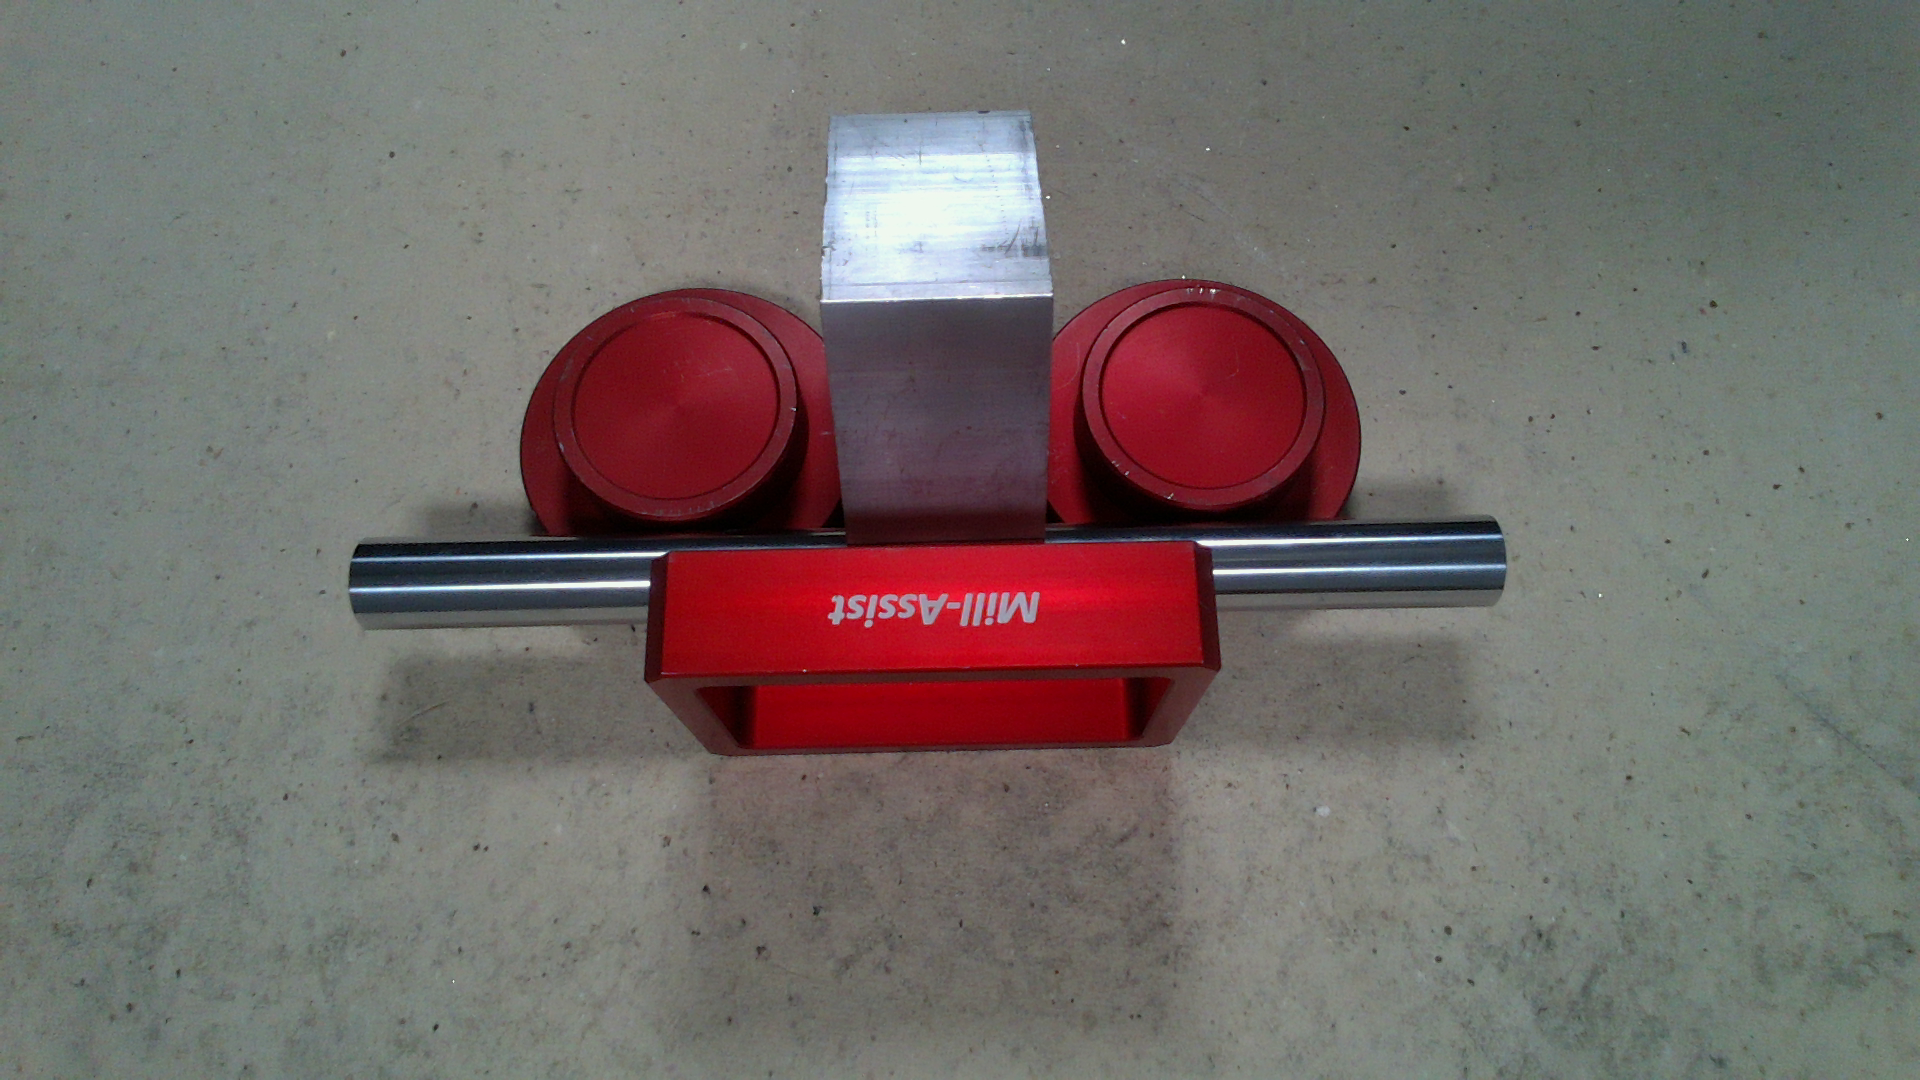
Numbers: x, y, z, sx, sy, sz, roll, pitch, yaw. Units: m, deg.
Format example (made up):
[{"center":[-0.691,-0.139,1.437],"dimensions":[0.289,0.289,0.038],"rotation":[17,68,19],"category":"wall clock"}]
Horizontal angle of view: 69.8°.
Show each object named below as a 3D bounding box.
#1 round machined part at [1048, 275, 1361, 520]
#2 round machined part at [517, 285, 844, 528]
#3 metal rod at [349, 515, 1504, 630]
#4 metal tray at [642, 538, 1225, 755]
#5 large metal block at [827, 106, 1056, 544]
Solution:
[{"center":[0.067,-0.034,0.397],"dimensions":[0.098,0.042,0.098],"rotation":[0,70,0],"category":"round machined part"},{"center":[-0.078,-0.031,0.395],"dimensions":[0.098,0.042,0.098],"rotation":[0,70,0],"category":"round machined part"},{"center":[-0.008,0.009,0.370],"dimensions":[0.300,0.025,0.025],"rotation":[-1,70,-1],"category":"metal rod"},{"center":[-0.006,0.030,0.349],"dimensions":[0.130,0.090,0.030],"rotation":[-1,70,0],"category":"metal tray"},{"center":[-0.005,-0.055,0.357],"dimensions":[0.050,0.080,0.080],"rotation":[-2,46,-1],"category":"large metal block"}]
